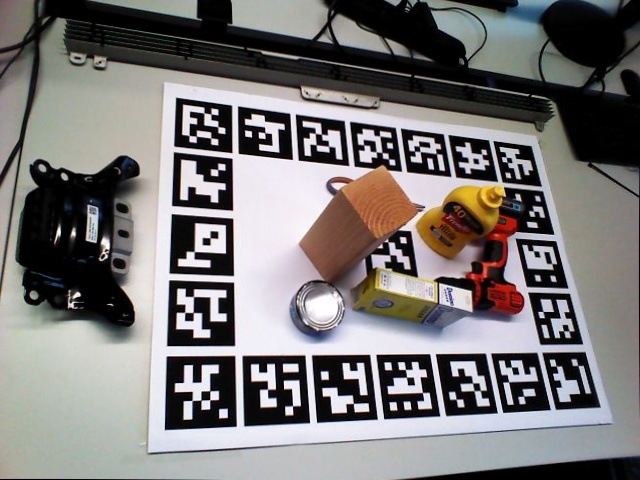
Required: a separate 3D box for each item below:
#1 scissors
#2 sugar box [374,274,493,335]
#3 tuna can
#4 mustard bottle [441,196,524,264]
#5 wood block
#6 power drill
[{"bbox_3d":[0.125,-0.066,0.938,0.202,0.016,0.087,6,64,-17],"label":"scissors"},{"bbox_3d":[0.188,0.110,0.851,0.176,0.093,0.045,16,62,-15],"label":"sugar box"},{"bbox_3d":[0.023,0.115,0.819,0.085,0.034,0.085,7,69,-18],"label":"tuna can"},{"bbox_3d":[0.284,-0.027,0.890,0.058,0.193,0.096,-39,87,-27],"label":"mustard bottle"},{"bbox_3d":[0.081,-0.008,0.804,0.090,0.207,0.090,-26,81,-26],"label":"wood block"},{"bbox_3d":[0.313,0.044,0.939,0.184,0.058,0.186,17,72,-13],"label":"power drill"}]
